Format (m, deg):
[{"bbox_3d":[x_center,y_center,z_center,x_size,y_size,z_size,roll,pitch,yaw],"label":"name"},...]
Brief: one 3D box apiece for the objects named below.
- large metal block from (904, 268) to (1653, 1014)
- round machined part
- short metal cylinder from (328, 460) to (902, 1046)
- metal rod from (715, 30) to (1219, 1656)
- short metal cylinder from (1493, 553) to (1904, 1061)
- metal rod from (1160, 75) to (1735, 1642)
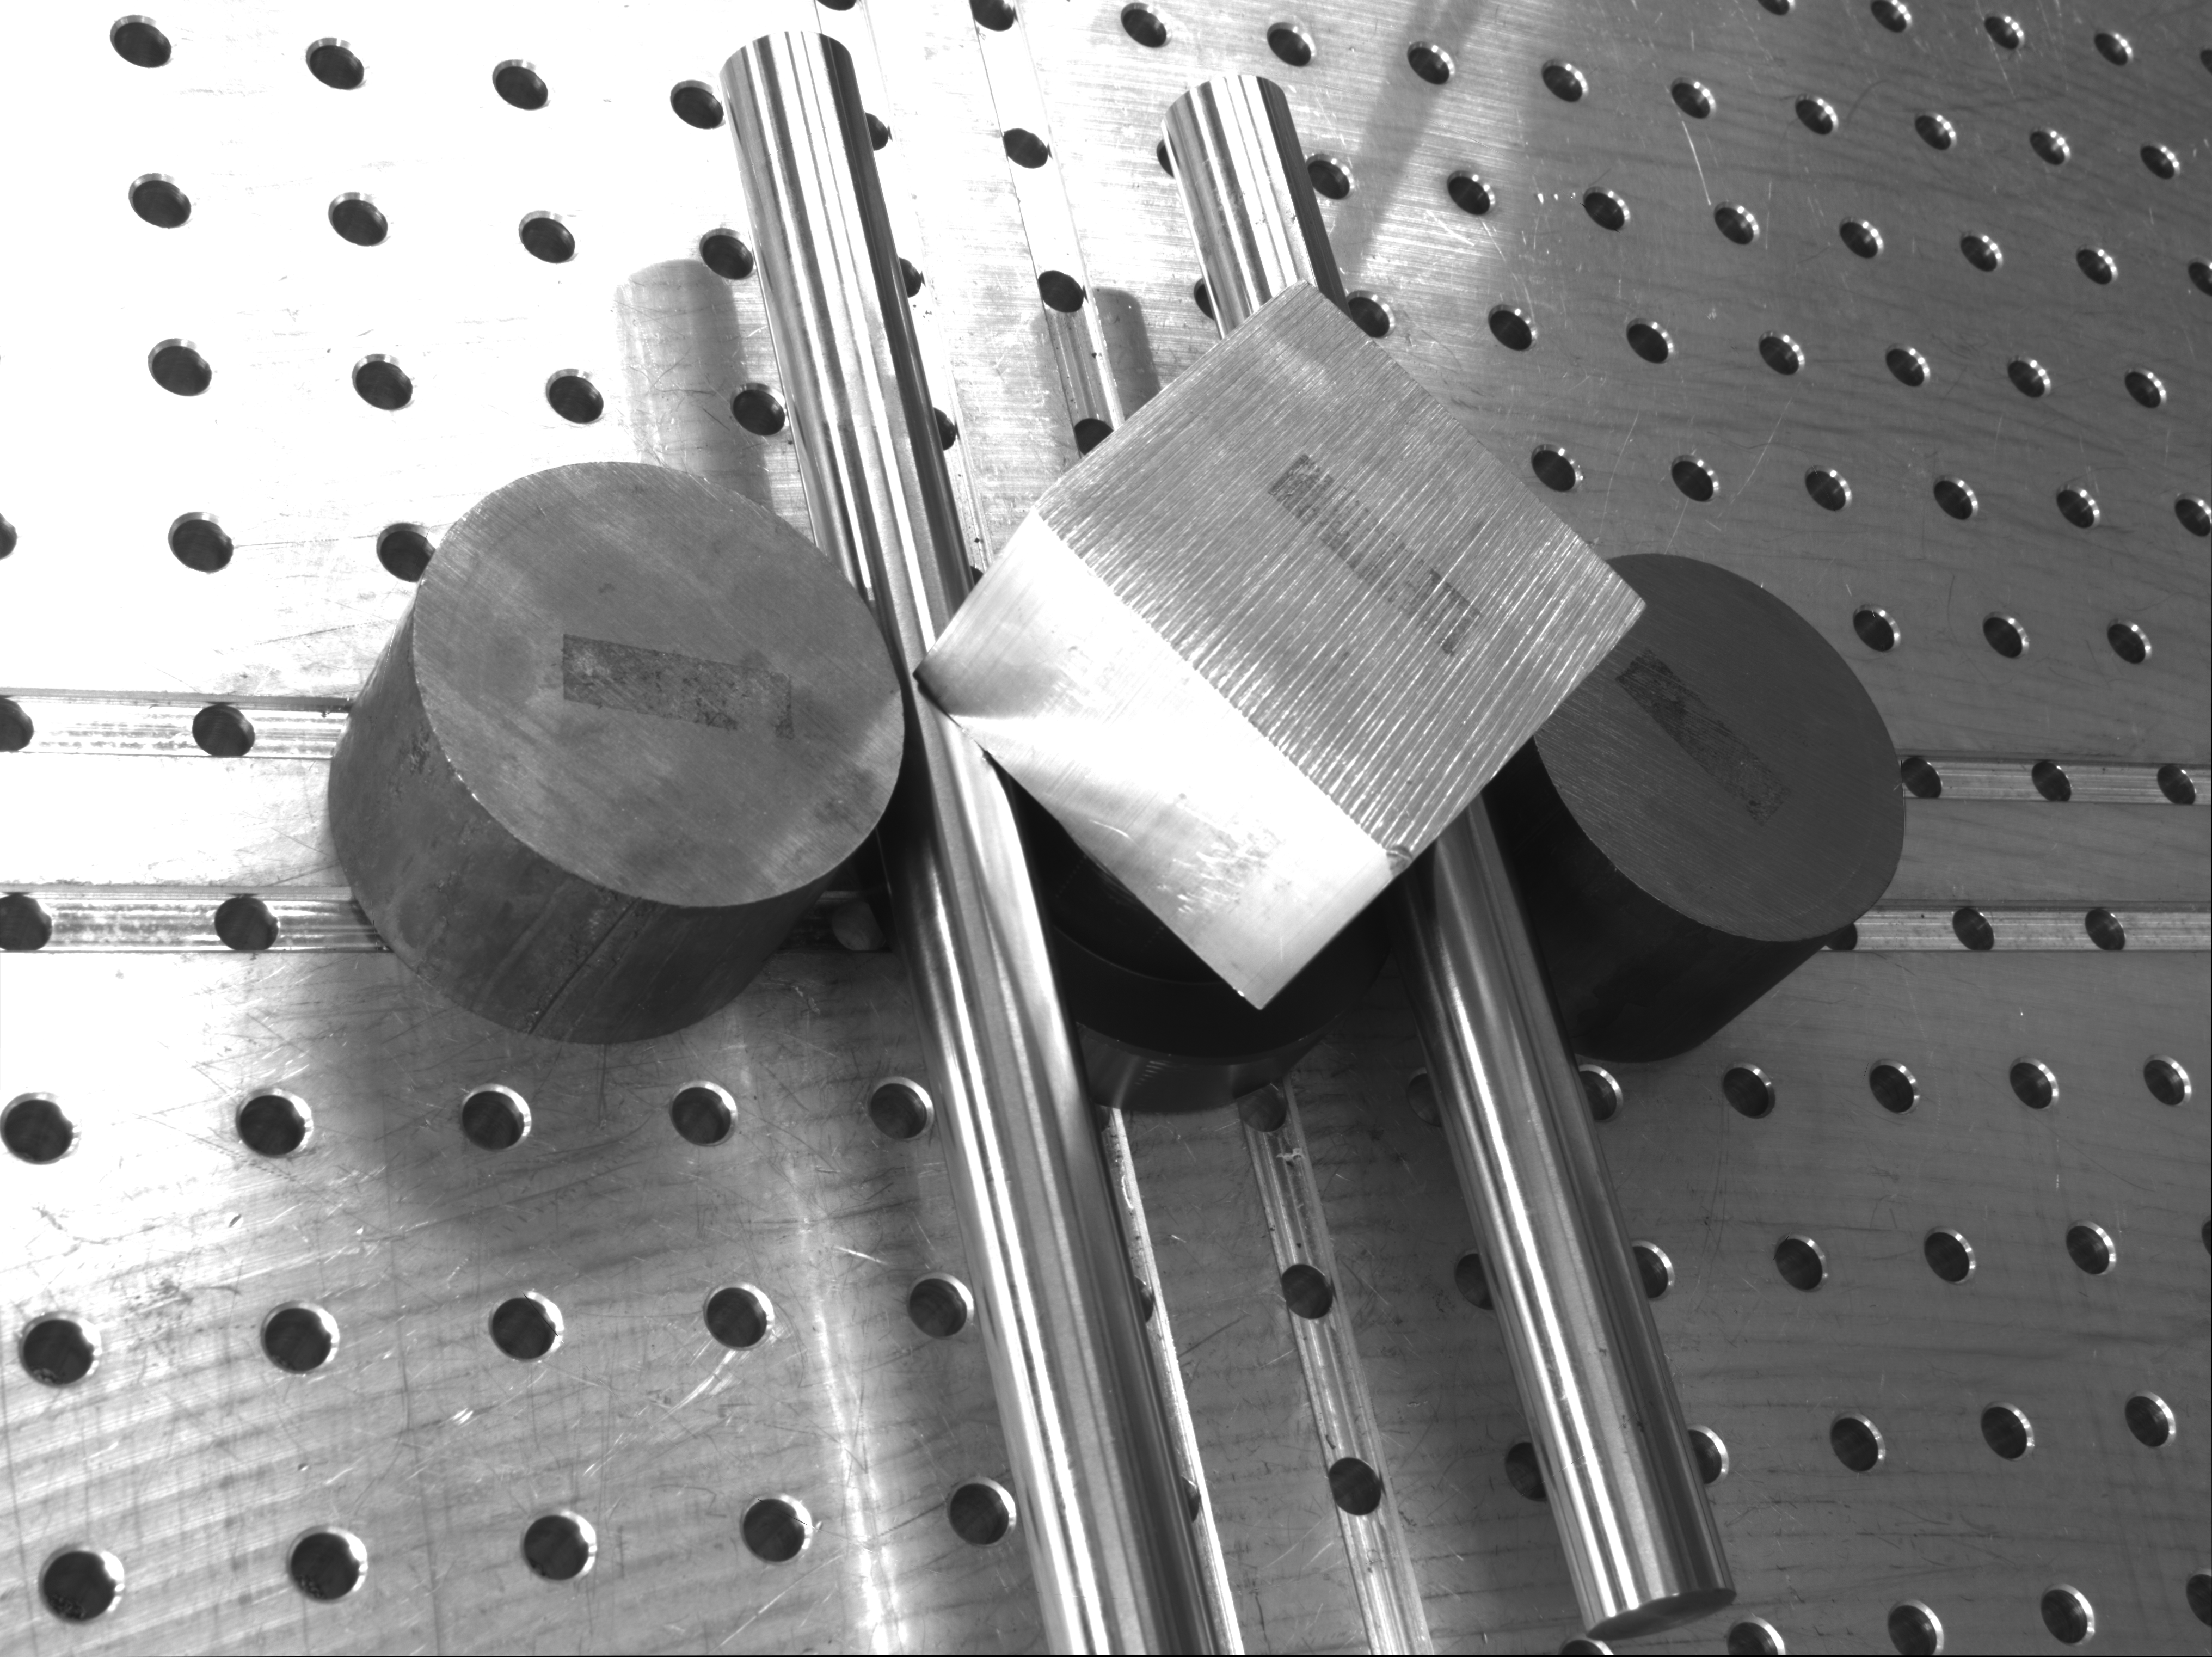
[{"bbox_3d":[0.029,-0.031,0.599,0.080,0.050,0.080,44,51,2],"label":"large metal block"},{"bbox_3d":[0.008,-0.003,0.638,0.098,0.042,0.098,14,56,-21],"label":"round machined part"},{"bbox_3d":[-0.079,-0.012,0.590,0.080,0.050,0.080,14,56,-21],"label":"short metal cylinder"},{"bbox_3d":[-0.027,-0.005,0.604,0.025,0.025,0.300,1,61,-28],"label":"metal rod"},{"bbox_3d":[0.100,-0.004,0.681,0.080,0.050,0.080,14,56,-21],"label":"short metal cylinder"},{"bbox_3d":[0.055,-0.006,0.648,0.025,0.025,0.300,0,62,-28],"label":"metal rod"}]
